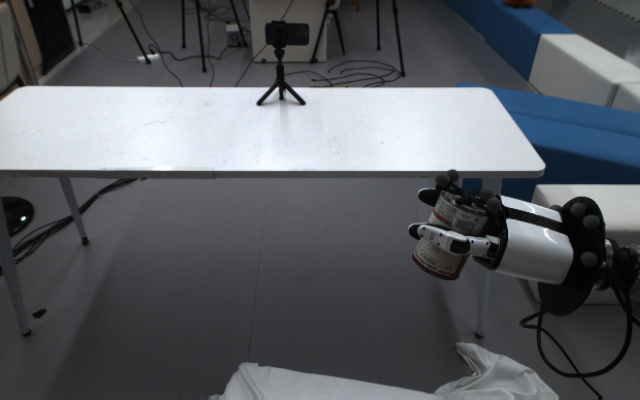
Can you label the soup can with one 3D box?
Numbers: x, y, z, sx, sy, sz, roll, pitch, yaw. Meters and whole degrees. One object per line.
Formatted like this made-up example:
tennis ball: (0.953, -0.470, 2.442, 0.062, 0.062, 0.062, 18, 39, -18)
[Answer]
soup can: (0.173, 0.044, 0.637, 0.067, 0.101, 0.067, 17, 21, -7)
